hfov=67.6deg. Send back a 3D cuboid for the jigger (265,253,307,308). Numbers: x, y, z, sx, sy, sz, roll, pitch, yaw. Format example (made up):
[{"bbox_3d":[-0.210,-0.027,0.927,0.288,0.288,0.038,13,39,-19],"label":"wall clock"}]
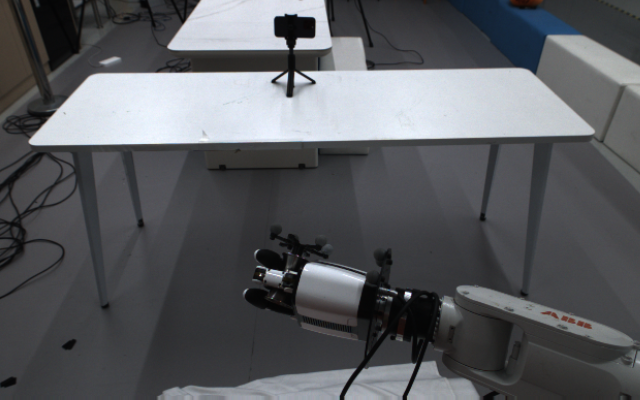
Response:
[{"bbox_3d":[-0.042,0.111,0.673,0.043,0.043,0.071,13,70,16],"label":"jigger"}]
